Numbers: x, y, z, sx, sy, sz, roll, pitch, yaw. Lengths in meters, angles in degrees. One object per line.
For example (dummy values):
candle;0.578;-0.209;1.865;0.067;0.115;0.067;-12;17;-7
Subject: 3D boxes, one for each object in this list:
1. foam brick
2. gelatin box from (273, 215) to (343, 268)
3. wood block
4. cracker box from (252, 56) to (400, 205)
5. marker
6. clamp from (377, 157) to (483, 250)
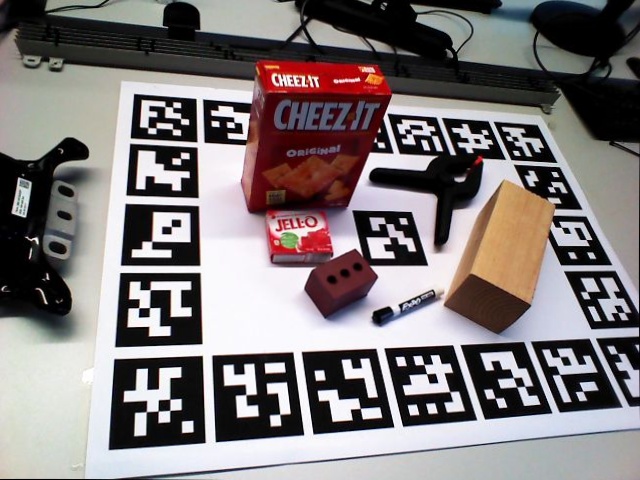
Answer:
foam brick;0.036;0.062;0.684;0.077;0.052;0.052;-23;67;-27
gelatin box;-0.018;0.001;0.728;0.089;0.030;0.073;-1;59;-15
wood block;0.278;0.026;0.754;0.090;0.091;0.204;28;52;7
cracker box;0.004;-0.137;0.704;0.164;0.215;0.071;-2;56;-19
marker;0.124;0.096;0.703;0.120;0.020;0.019;-18;65;-25
clamp;0.215;-0.087;0.842;0.201;0.037;0.165;-30;69;-29
